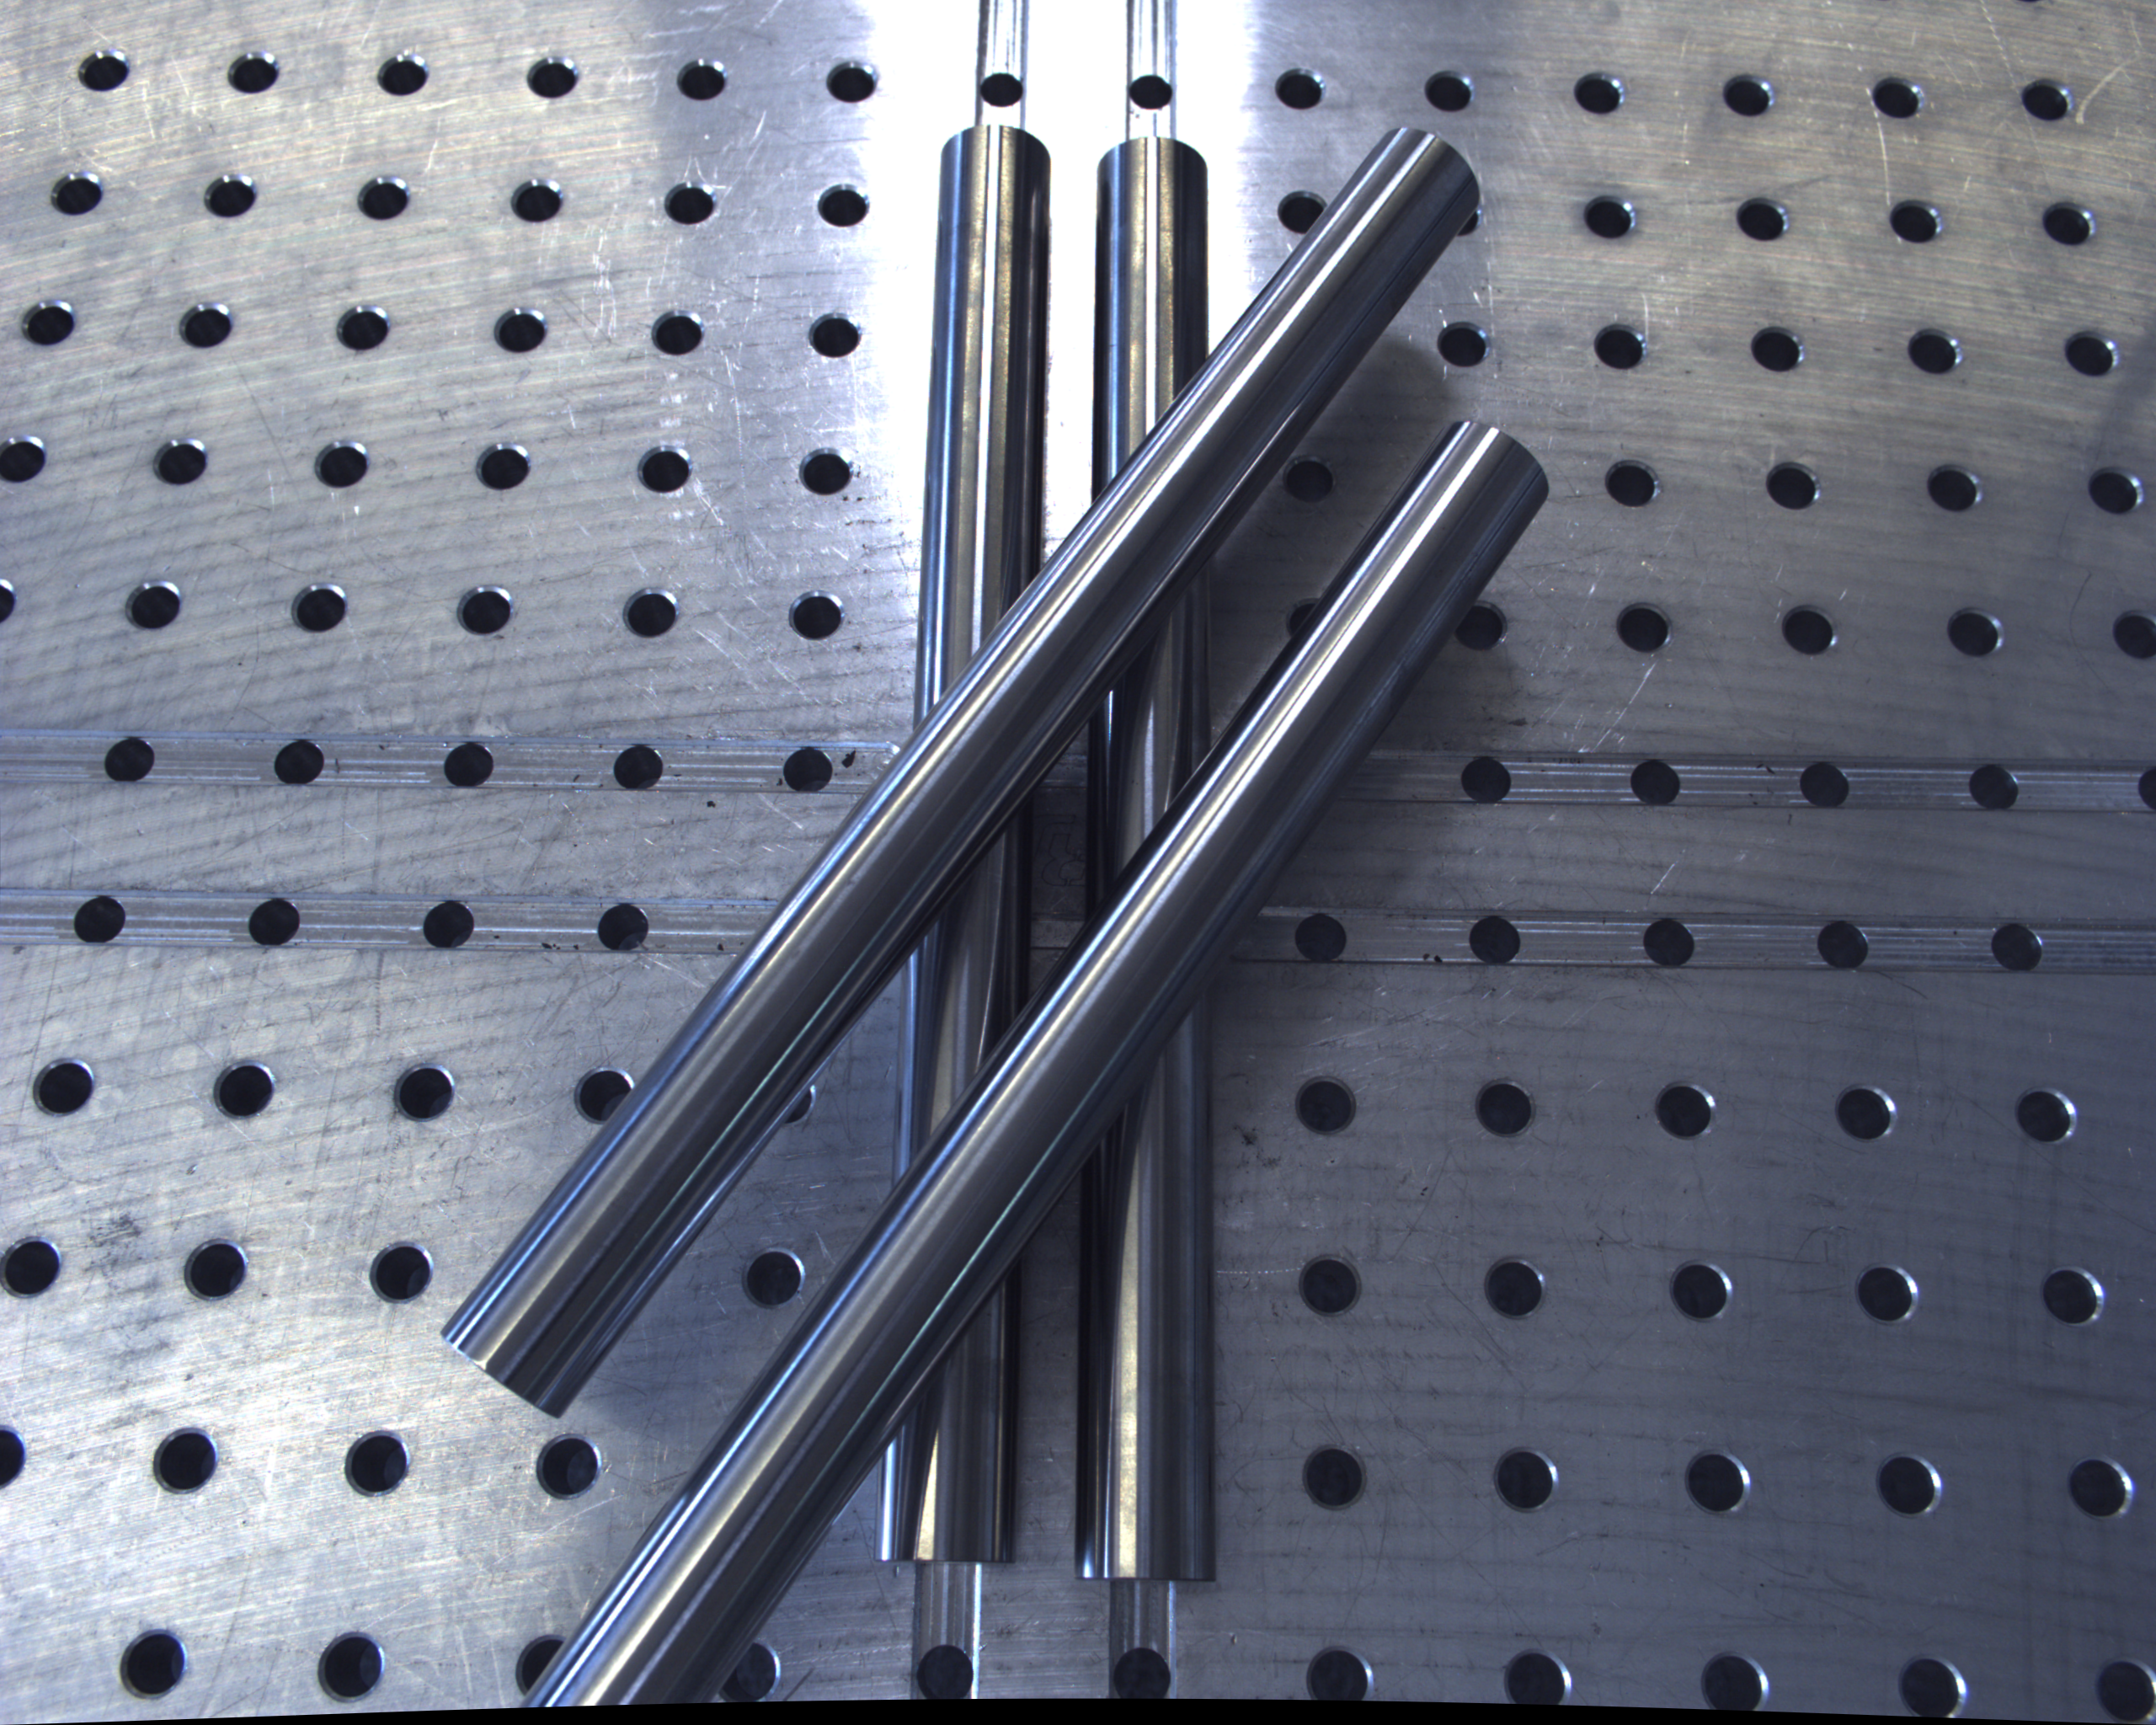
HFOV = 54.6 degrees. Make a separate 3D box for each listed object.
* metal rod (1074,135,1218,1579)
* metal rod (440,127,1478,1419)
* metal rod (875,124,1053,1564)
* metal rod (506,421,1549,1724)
[{"bbox_3d":[0.014,-0.015,0.418,0.025,0.025,0.299,1,70,0],"label":"metal rod"},{"bbox_3d":[-0.012,-0.029,0.396,0.025,0.025,0.300,33,73,11],"label":"metal rod"},{"bbox_3d":[-0.021,-0.017,0.419,0.025,0.025,0.299,1,70,0],"label":"metal rod"},{"bbox_3d":[-0.003,0.037,0.371,0.025,0.025,0.300,33,73,11],"label":"metal rod"}]
